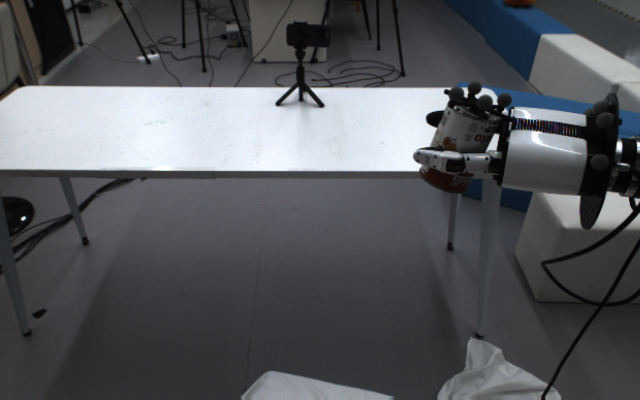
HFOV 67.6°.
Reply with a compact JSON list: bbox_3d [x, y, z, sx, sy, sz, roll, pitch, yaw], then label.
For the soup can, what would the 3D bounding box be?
[{"bbox_3d":[0.176,-0.069,0.611,0.067,0.101,0.067,13,30,-7],"label":"soup can"}]
